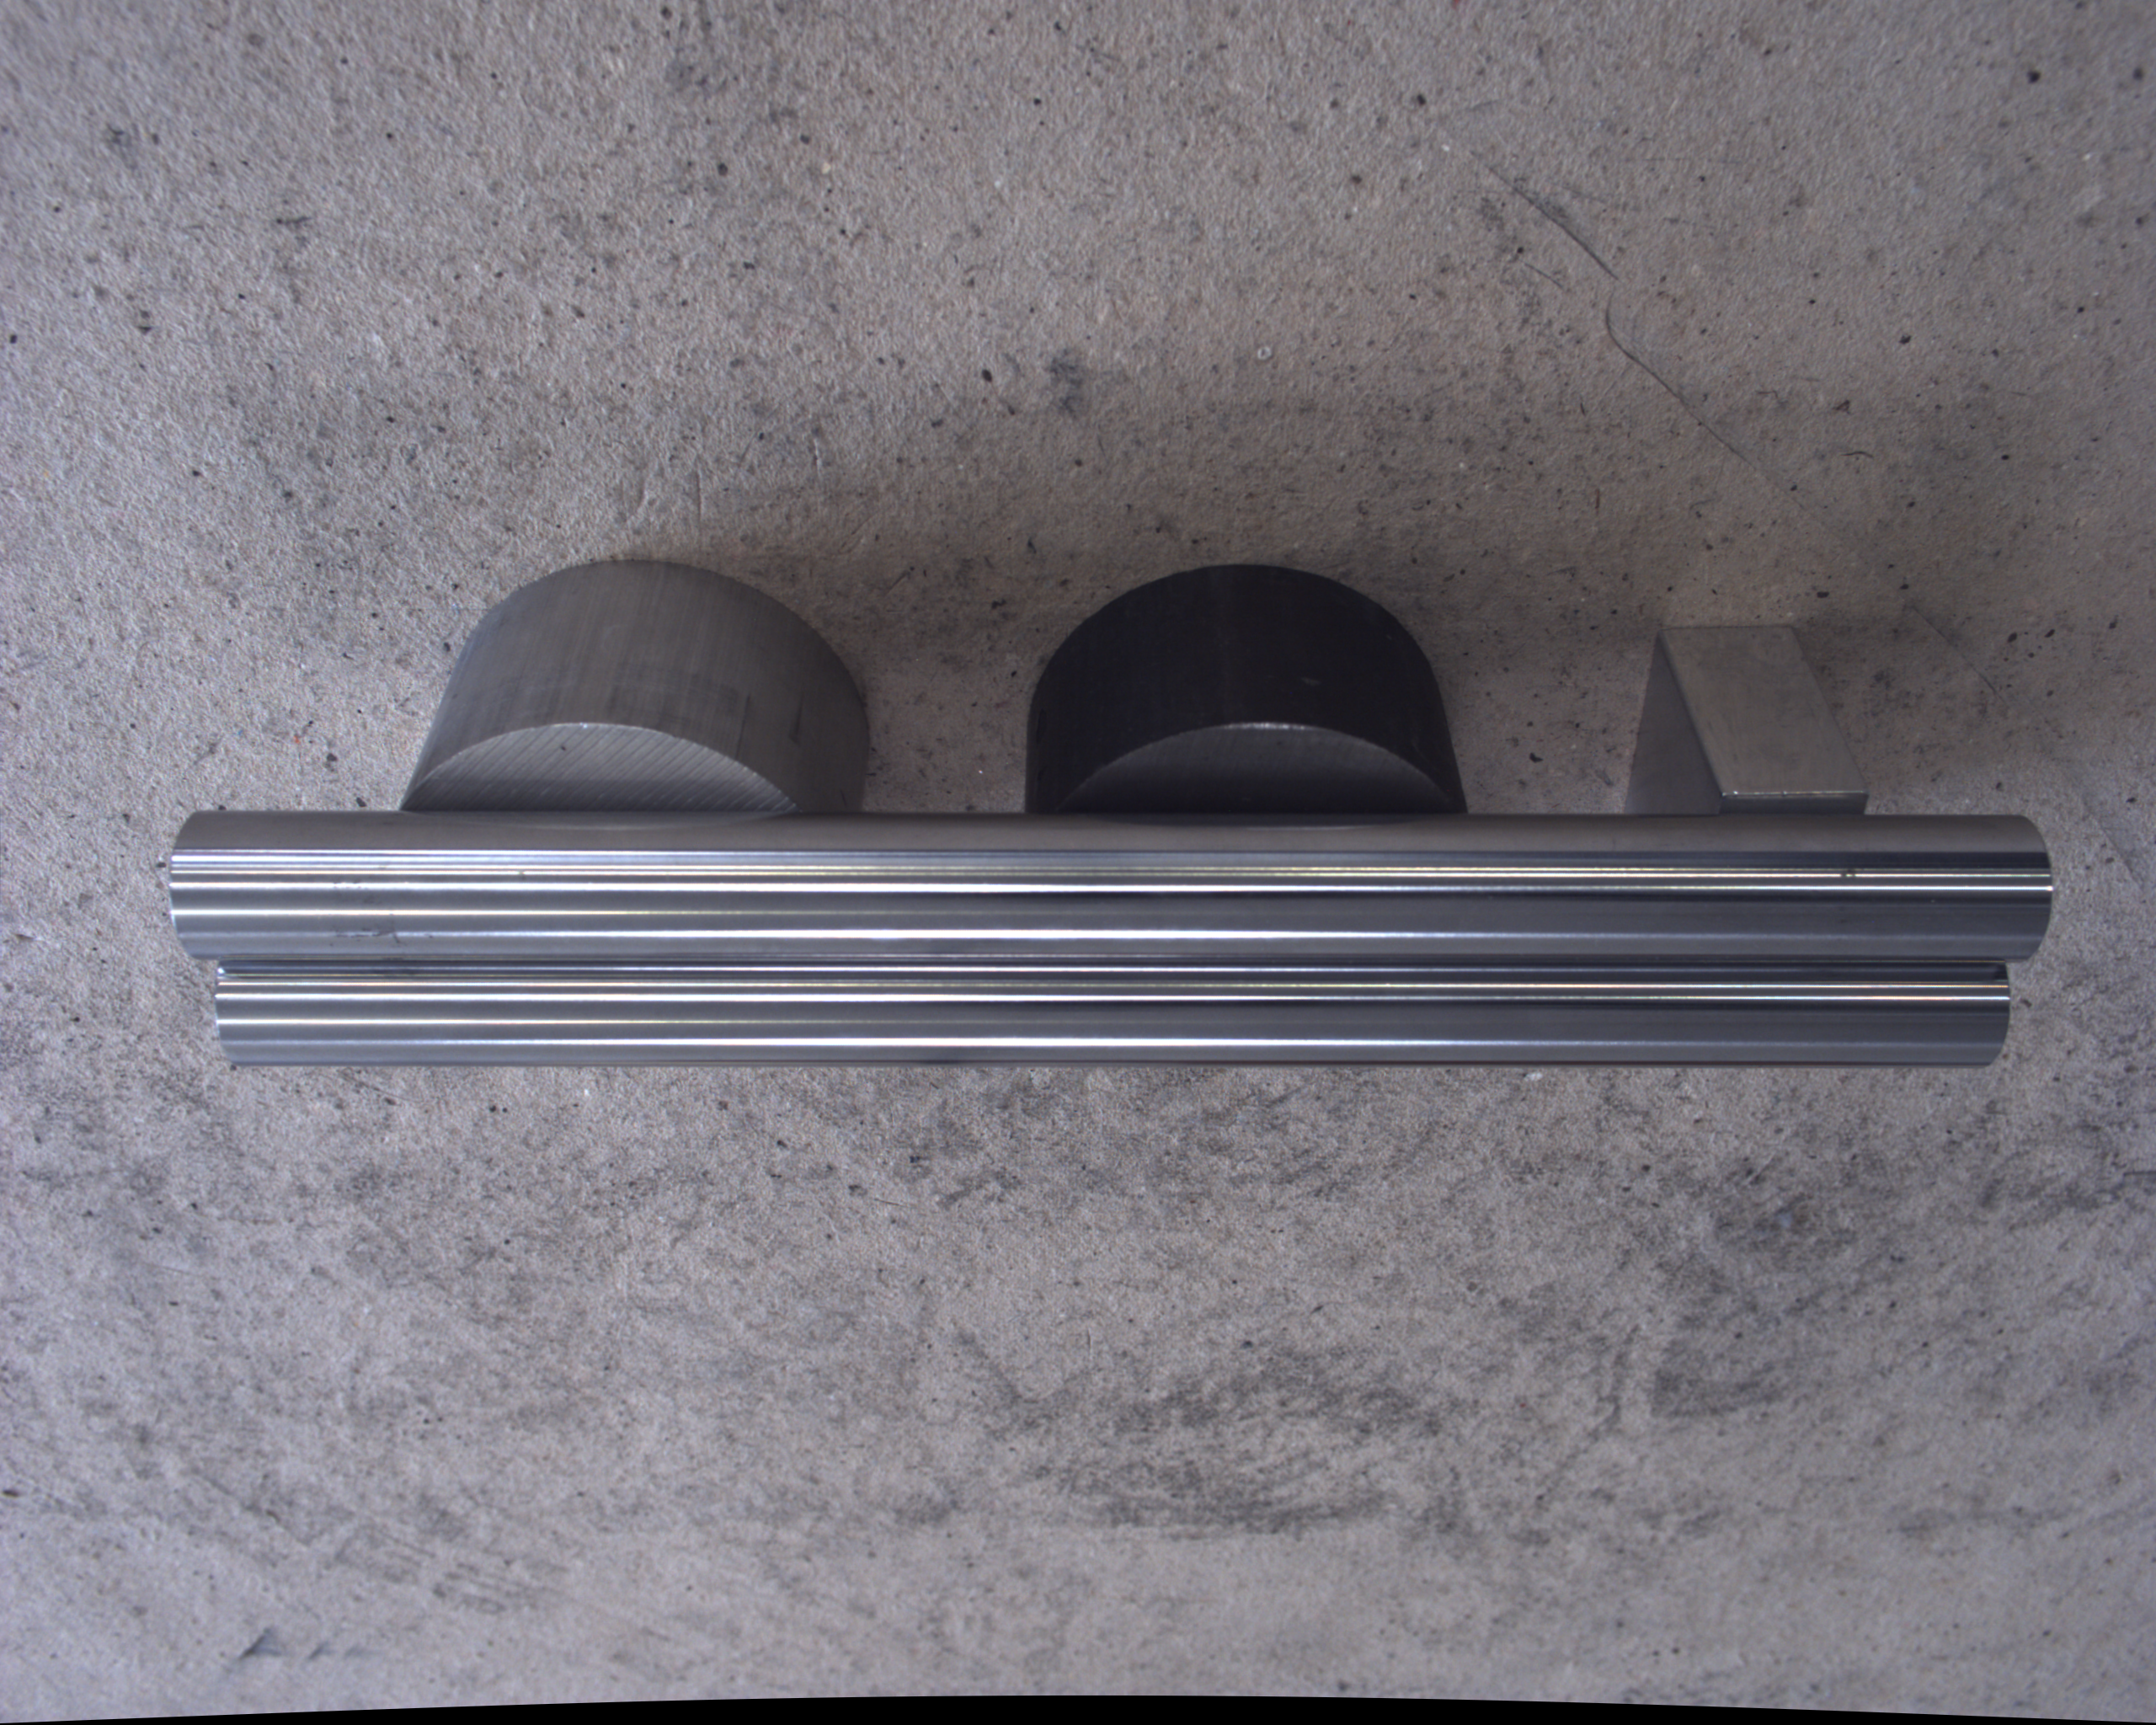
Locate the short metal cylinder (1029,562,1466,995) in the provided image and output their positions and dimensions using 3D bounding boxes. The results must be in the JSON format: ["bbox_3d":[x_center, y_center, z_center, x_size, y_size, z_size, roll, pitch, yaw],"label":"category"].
[{"bbox_3d":[0.030,-0.008,0.386,0.081,0.050,0.079,0,130,0],"label":"short metal cylinder"}]

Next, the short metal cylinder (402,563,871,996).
[{"bbox_3d":[-0.080,-0.008,0.384,0.081,0.050,0.079,0,130,0],"label":"short metal cylinder"}]

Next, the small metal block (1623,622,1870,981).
[{"bbox_3d":[0.121,-0.010,0.387,0.025,0.050,0.050,-1,130,1],"label":"small metal block"}]

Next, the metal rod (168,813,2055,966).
[{"bbox_3d":[0.006,0.004,0.346,0.302,0.025,0.025,0,130,-1],"label":"metal rod"}]

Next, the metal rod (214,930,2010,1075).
[{"bbox_3d":[0.006,0.024,0.363,0.302,0.025,0.025,0,130,-1],"label":"metal rod"}]
